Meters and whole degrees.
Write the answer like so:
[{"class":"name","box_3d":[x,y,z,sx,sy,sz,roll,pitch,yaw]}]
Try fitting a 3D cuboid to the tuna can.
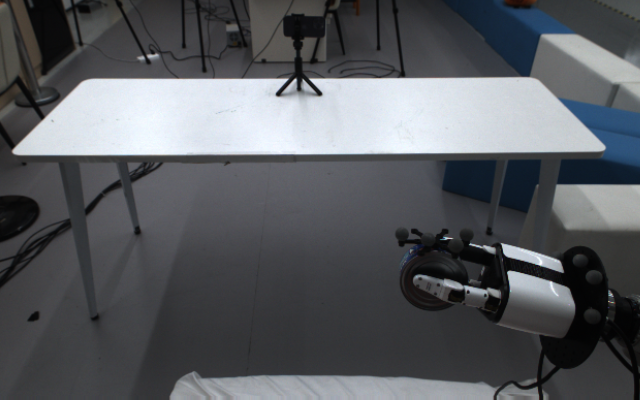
[{"class":"tuna can","box_3d":[0.147,0.097,0.625,0.085,0.085,0.034,5,16,4]}]
